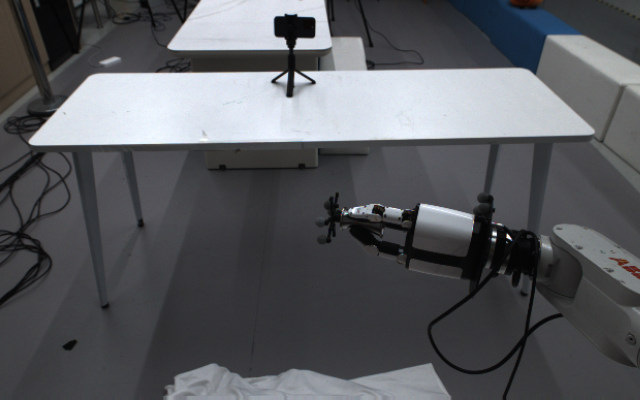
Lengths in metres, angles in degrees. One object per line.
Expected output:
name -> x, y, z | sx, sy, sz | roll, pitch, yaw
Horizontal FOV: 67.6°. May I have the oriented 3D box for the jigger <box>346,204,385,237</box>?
jigger -> 0.076, 0.029, 0.782 | 0.071, 0.043, 0.043 | 8, 35, 14
